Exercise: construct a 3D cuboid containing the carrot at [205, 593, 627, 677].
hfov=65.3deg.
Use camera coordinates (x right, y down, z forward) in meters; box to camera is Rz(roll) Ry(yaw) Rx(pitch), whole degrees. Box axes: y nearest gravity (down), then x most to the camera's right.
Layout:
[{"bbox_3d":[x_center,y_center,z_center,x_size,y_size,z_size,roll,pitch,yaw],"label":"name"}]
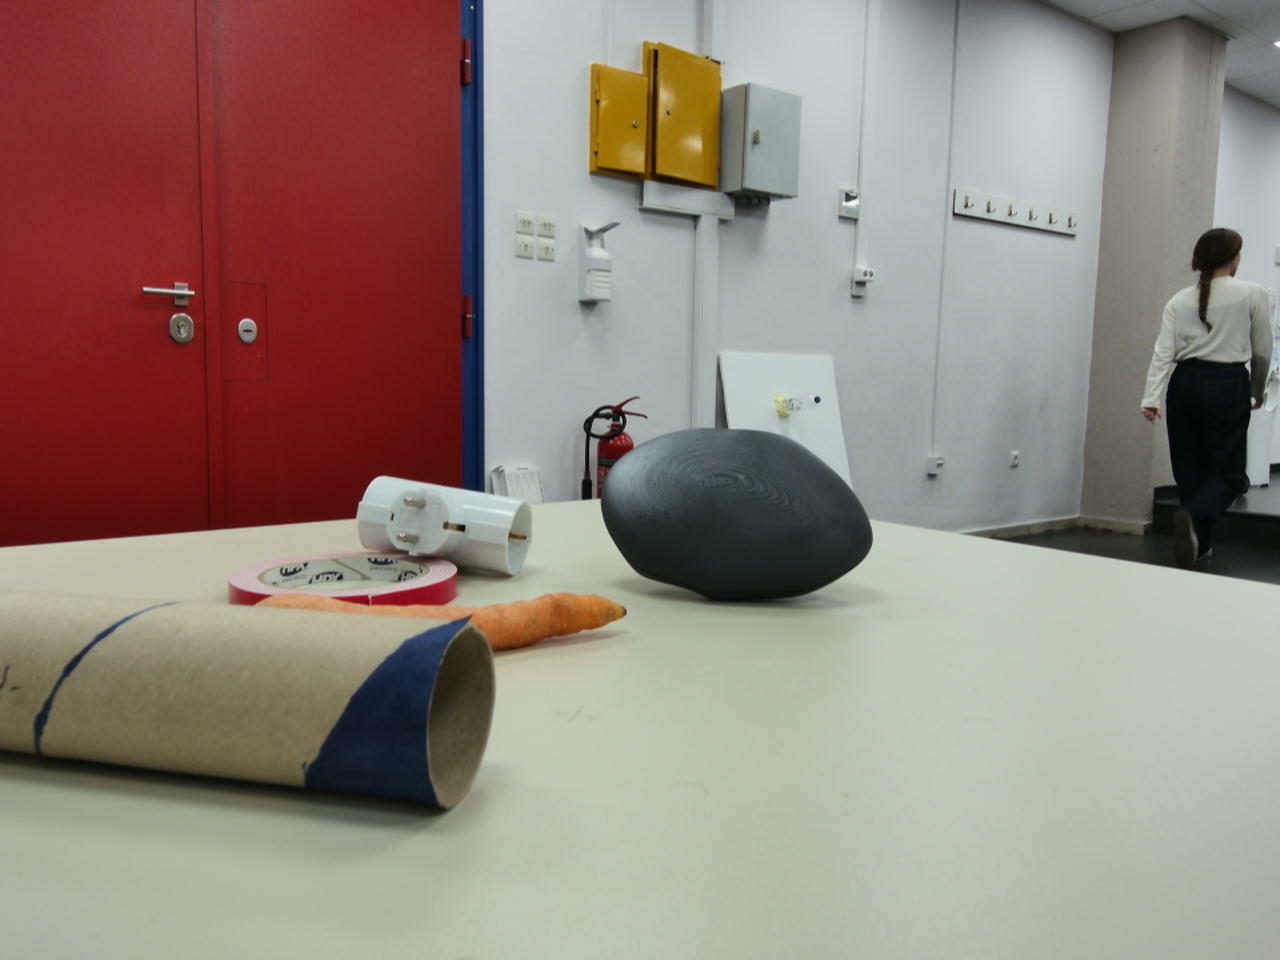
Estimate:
[{"bbox_3d":[-0.079,0.056,0.399,0.173,0.032,0.030,-2,4,-29],"label":"carrot"}]
